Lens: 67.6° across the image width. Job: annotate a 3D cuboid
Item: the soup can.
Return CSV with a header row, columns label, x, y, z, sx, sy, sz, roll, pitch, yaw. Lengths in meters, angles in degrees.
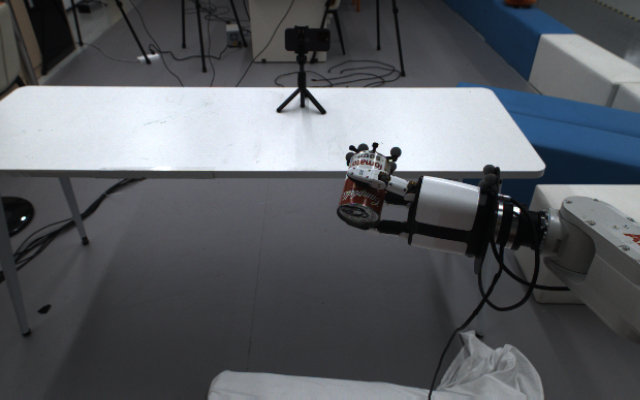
label,x,y,z,sx,sy,sz,roll,pitch,yaw
soup can,0.071,-0.019,0.754,0.067,0.067,0.101,9,60,10
